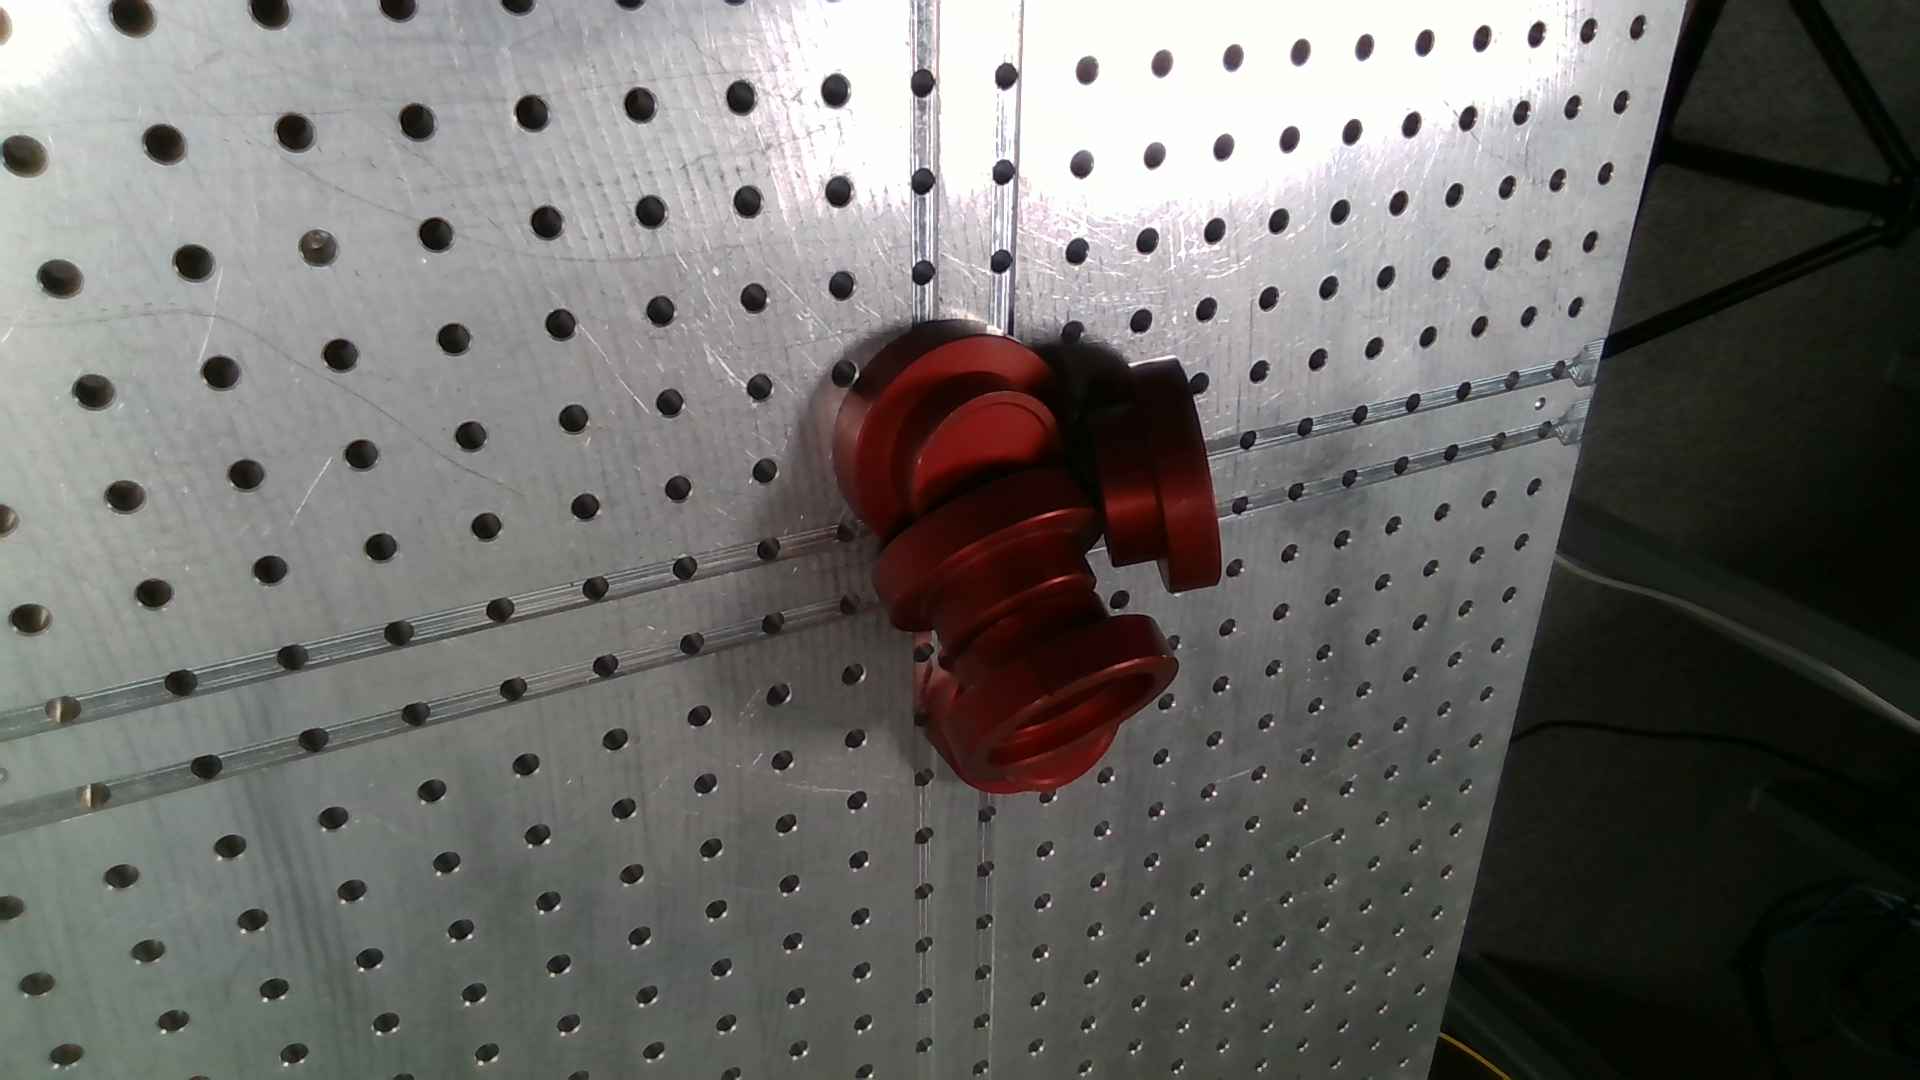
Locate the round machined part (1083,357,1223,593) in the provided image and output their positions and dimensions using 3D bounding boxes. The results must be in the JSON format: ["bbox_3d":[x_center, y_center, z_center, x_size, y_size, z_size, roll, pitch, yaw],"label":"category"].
[{"bbox_3d":[0.078,-0.026,0.577,0.042,0.098,0.098,-11,124,3],"label":"round machined part"}]

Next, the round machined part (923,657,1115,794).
[{"bbox_3d":[0.036,0.076,0.636,0.098,0.042,0.098,-14,122,-25],"label":"round machined part"}]

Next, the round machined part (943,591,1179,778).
[{"bbox_3d":[0.037,0.056,0.564,0.098,0.042,0.098,-23,157,-10],"label":"round machined part"}]

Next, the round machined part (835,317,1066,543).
[{"bbox_3d":[0.002,-0.036,0.554,0.098,0.042,0.098,-14,122,-25],"label":"round machined part"}]

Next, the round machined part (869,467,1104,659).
[{"bbox_3d":[0.016,0.014,0.560,0.098,0.042,0.098,-24,162,-8],"label":"round machined part"}]
